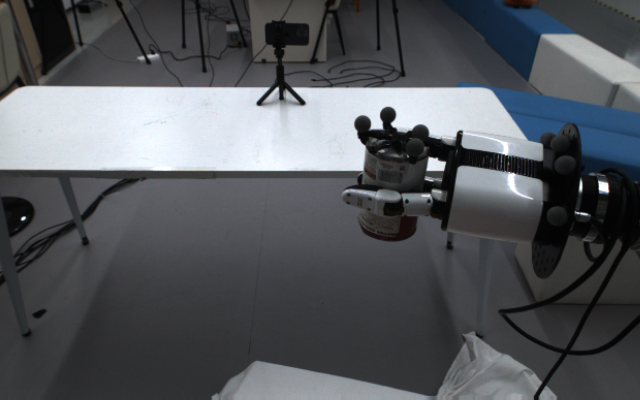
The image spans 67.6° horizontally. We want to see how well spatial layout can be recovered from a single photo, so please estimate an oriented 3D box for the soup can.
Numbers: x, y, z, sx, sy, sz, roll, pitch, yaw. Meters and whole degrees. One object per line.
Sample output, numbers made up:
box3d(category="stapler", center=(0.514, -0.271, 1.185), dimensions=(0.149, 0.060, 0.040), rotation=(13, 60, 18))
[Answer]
box3d(category="soup can", center=(0.081, -0.015, 0.530), dimensions=(0.067, 0.101, 0.067), rotation=(2, 32, -1))
